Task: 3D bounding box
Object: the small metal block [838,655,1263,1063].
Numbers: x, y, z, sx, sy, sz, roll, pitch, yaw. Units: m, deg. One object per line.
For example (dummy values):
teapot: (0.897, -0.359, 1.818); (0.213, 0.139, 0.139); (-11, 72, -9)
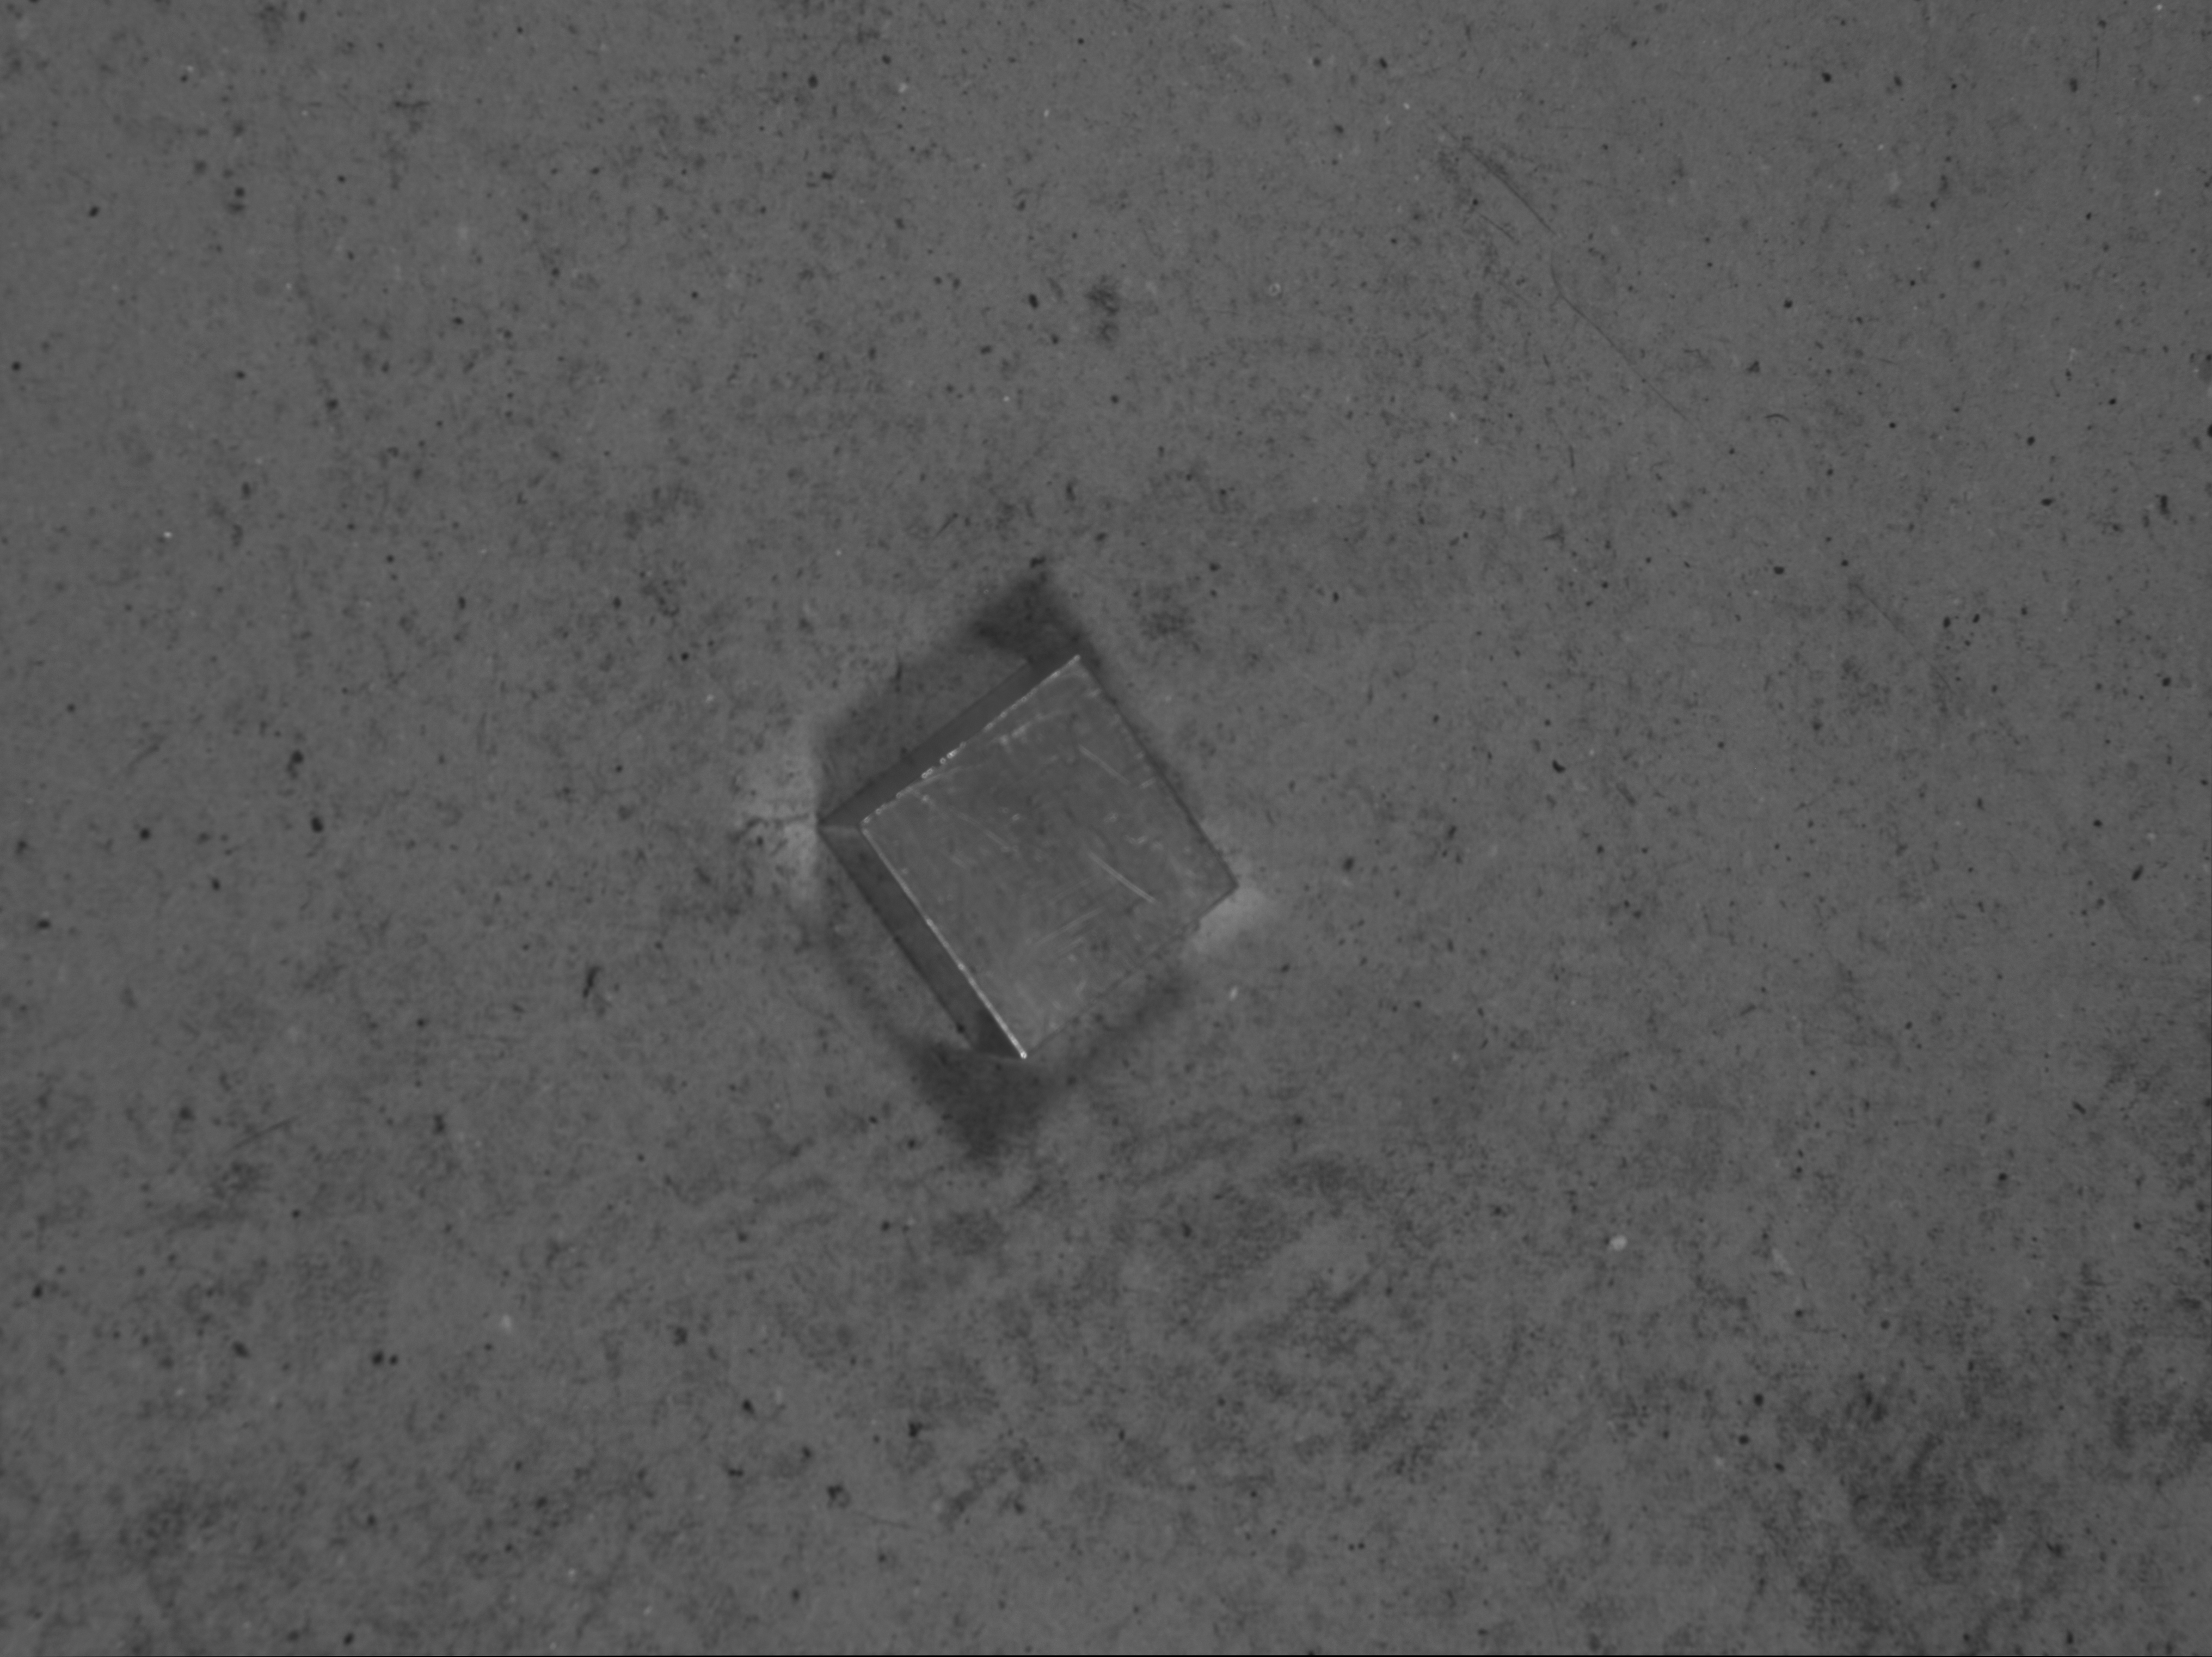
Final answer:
small metal block: (-0.010, 0.005, 0.640); (0.050, 0.025, 0.050); (-38, 102, -16)
